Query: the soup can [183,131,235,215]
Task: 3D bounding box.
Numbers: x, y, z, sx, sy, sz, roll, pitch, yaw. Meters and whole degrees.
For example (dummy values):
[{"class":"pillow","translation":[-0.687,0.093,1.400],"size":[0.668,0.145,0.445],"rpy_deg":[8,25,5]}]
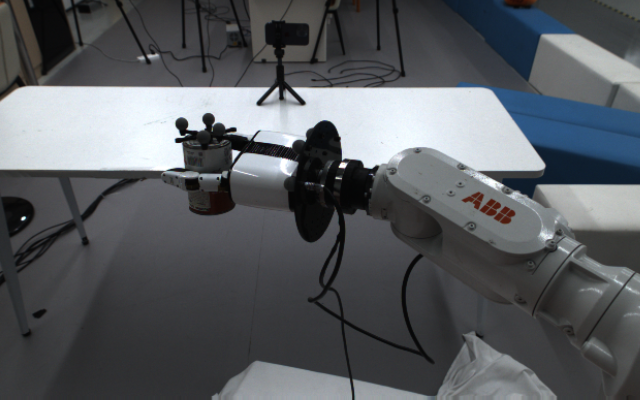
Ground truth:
[{"class":"soup can","translation":[-0.155,-0.036,0.681],"size":[0.067,0.101,0.067],"rpy_deg":[1,26,0]}]
